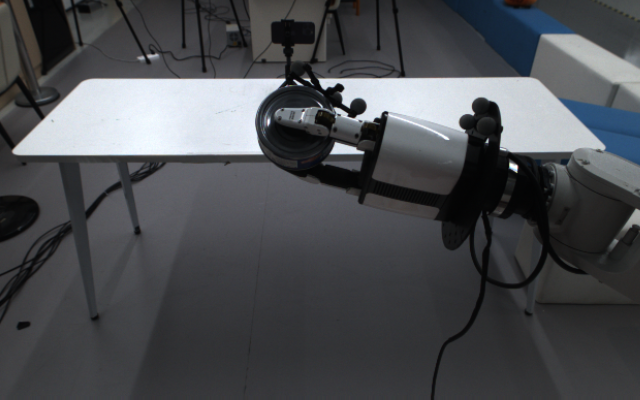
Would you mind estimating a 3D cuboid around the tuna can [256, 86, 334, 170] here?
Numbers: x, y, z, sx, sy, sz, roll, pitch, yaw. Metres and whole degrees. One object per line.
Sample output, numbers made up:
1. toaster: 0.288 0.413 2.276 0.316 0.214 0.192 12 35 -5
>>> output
1. tuna can: -0.020 -0.071 0.511 0.085 0.034 0.085 0 74 0
